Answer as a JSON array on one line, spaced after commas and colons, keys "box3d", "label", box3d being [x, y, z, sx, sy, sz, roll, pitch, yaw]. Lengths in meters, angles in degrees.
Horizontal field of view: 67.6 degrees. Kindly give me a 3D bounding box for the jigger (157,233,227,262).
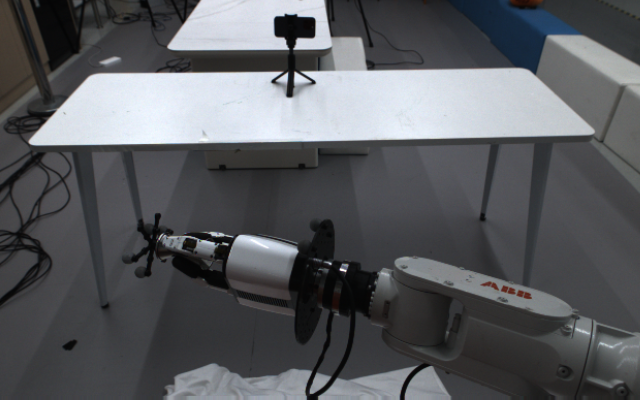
[{"box3d": [-0.176, 0.064, 0.656, 0.071, 0.043, 0.043, 7, 35, 14], "label": "jigger"}]
